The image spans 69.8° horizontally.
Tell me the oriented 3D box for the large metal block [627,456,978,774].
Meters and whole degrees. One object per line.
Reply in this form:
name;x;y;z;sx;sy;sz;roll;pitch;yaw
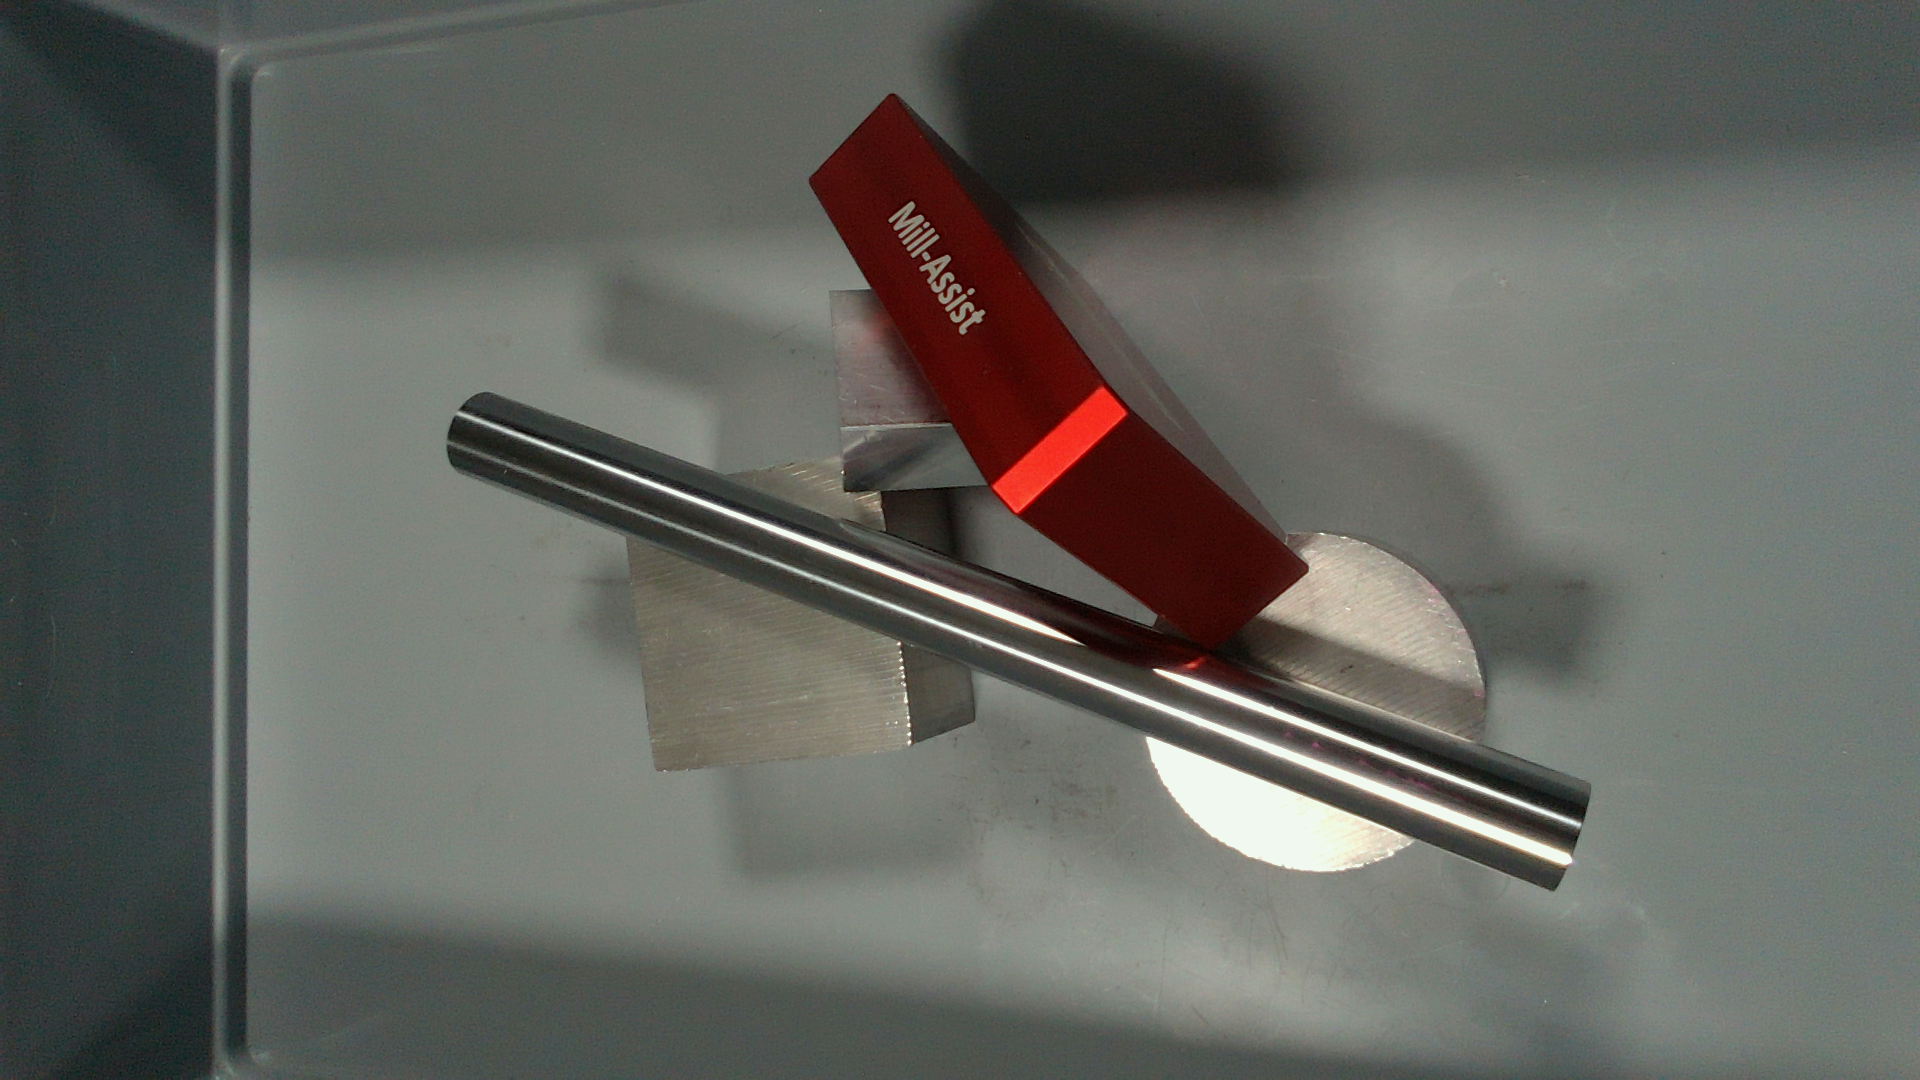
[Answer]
large metal block;-0.046;0.021;0.398;0.080;0.050;0.080;-8;87;20

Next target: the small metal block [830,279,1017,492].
small metal block;-0.007;-0.041;0.362;0.050;0.025;0.050;-3;53;-6

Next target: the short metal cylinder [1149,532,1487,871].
short metal cylinder;0.091;0.038;0.349;0.080;0.050;0.080;0;90;20

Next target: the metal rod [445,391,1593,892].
metal rod;-0.003;0.017;0.342;0.299;0.025;0.025;19;97;19

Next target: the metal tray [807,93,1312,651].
metal tray;0.021;-0.042;0.326;0.030;0.090;0.130;-42;47;14
